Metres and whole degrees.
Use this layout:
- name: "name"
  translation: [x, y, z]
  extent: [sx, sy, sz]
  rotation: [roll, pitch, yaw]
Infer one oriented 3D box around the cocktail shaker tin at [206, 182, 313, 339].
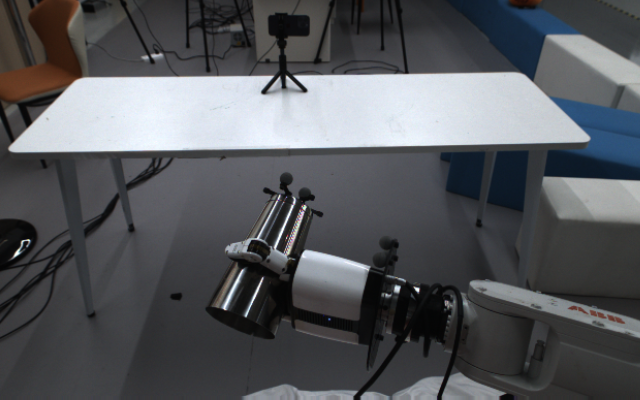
- name: "cocktail shaker tin"
  translation: [-0.069, 0.080, 0.620]
  extent: [0.093, 0.093, 0.170]
  rotation: [14, 61, 17]
